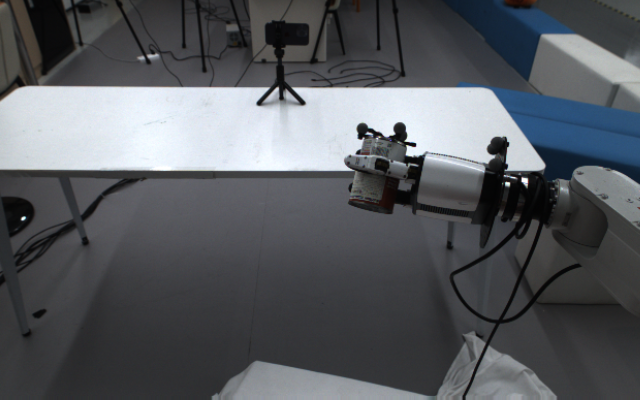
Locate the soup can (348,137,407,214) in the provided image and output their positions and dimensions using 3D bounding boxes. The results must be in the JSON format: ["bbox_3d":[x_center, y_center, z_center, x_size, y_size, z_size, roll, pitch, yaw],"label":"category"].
[{"bbox_3d":[0.086,-0.036,0.714,0.067,0.101,0.067,13,-6,1],"label":"soup can"}]
